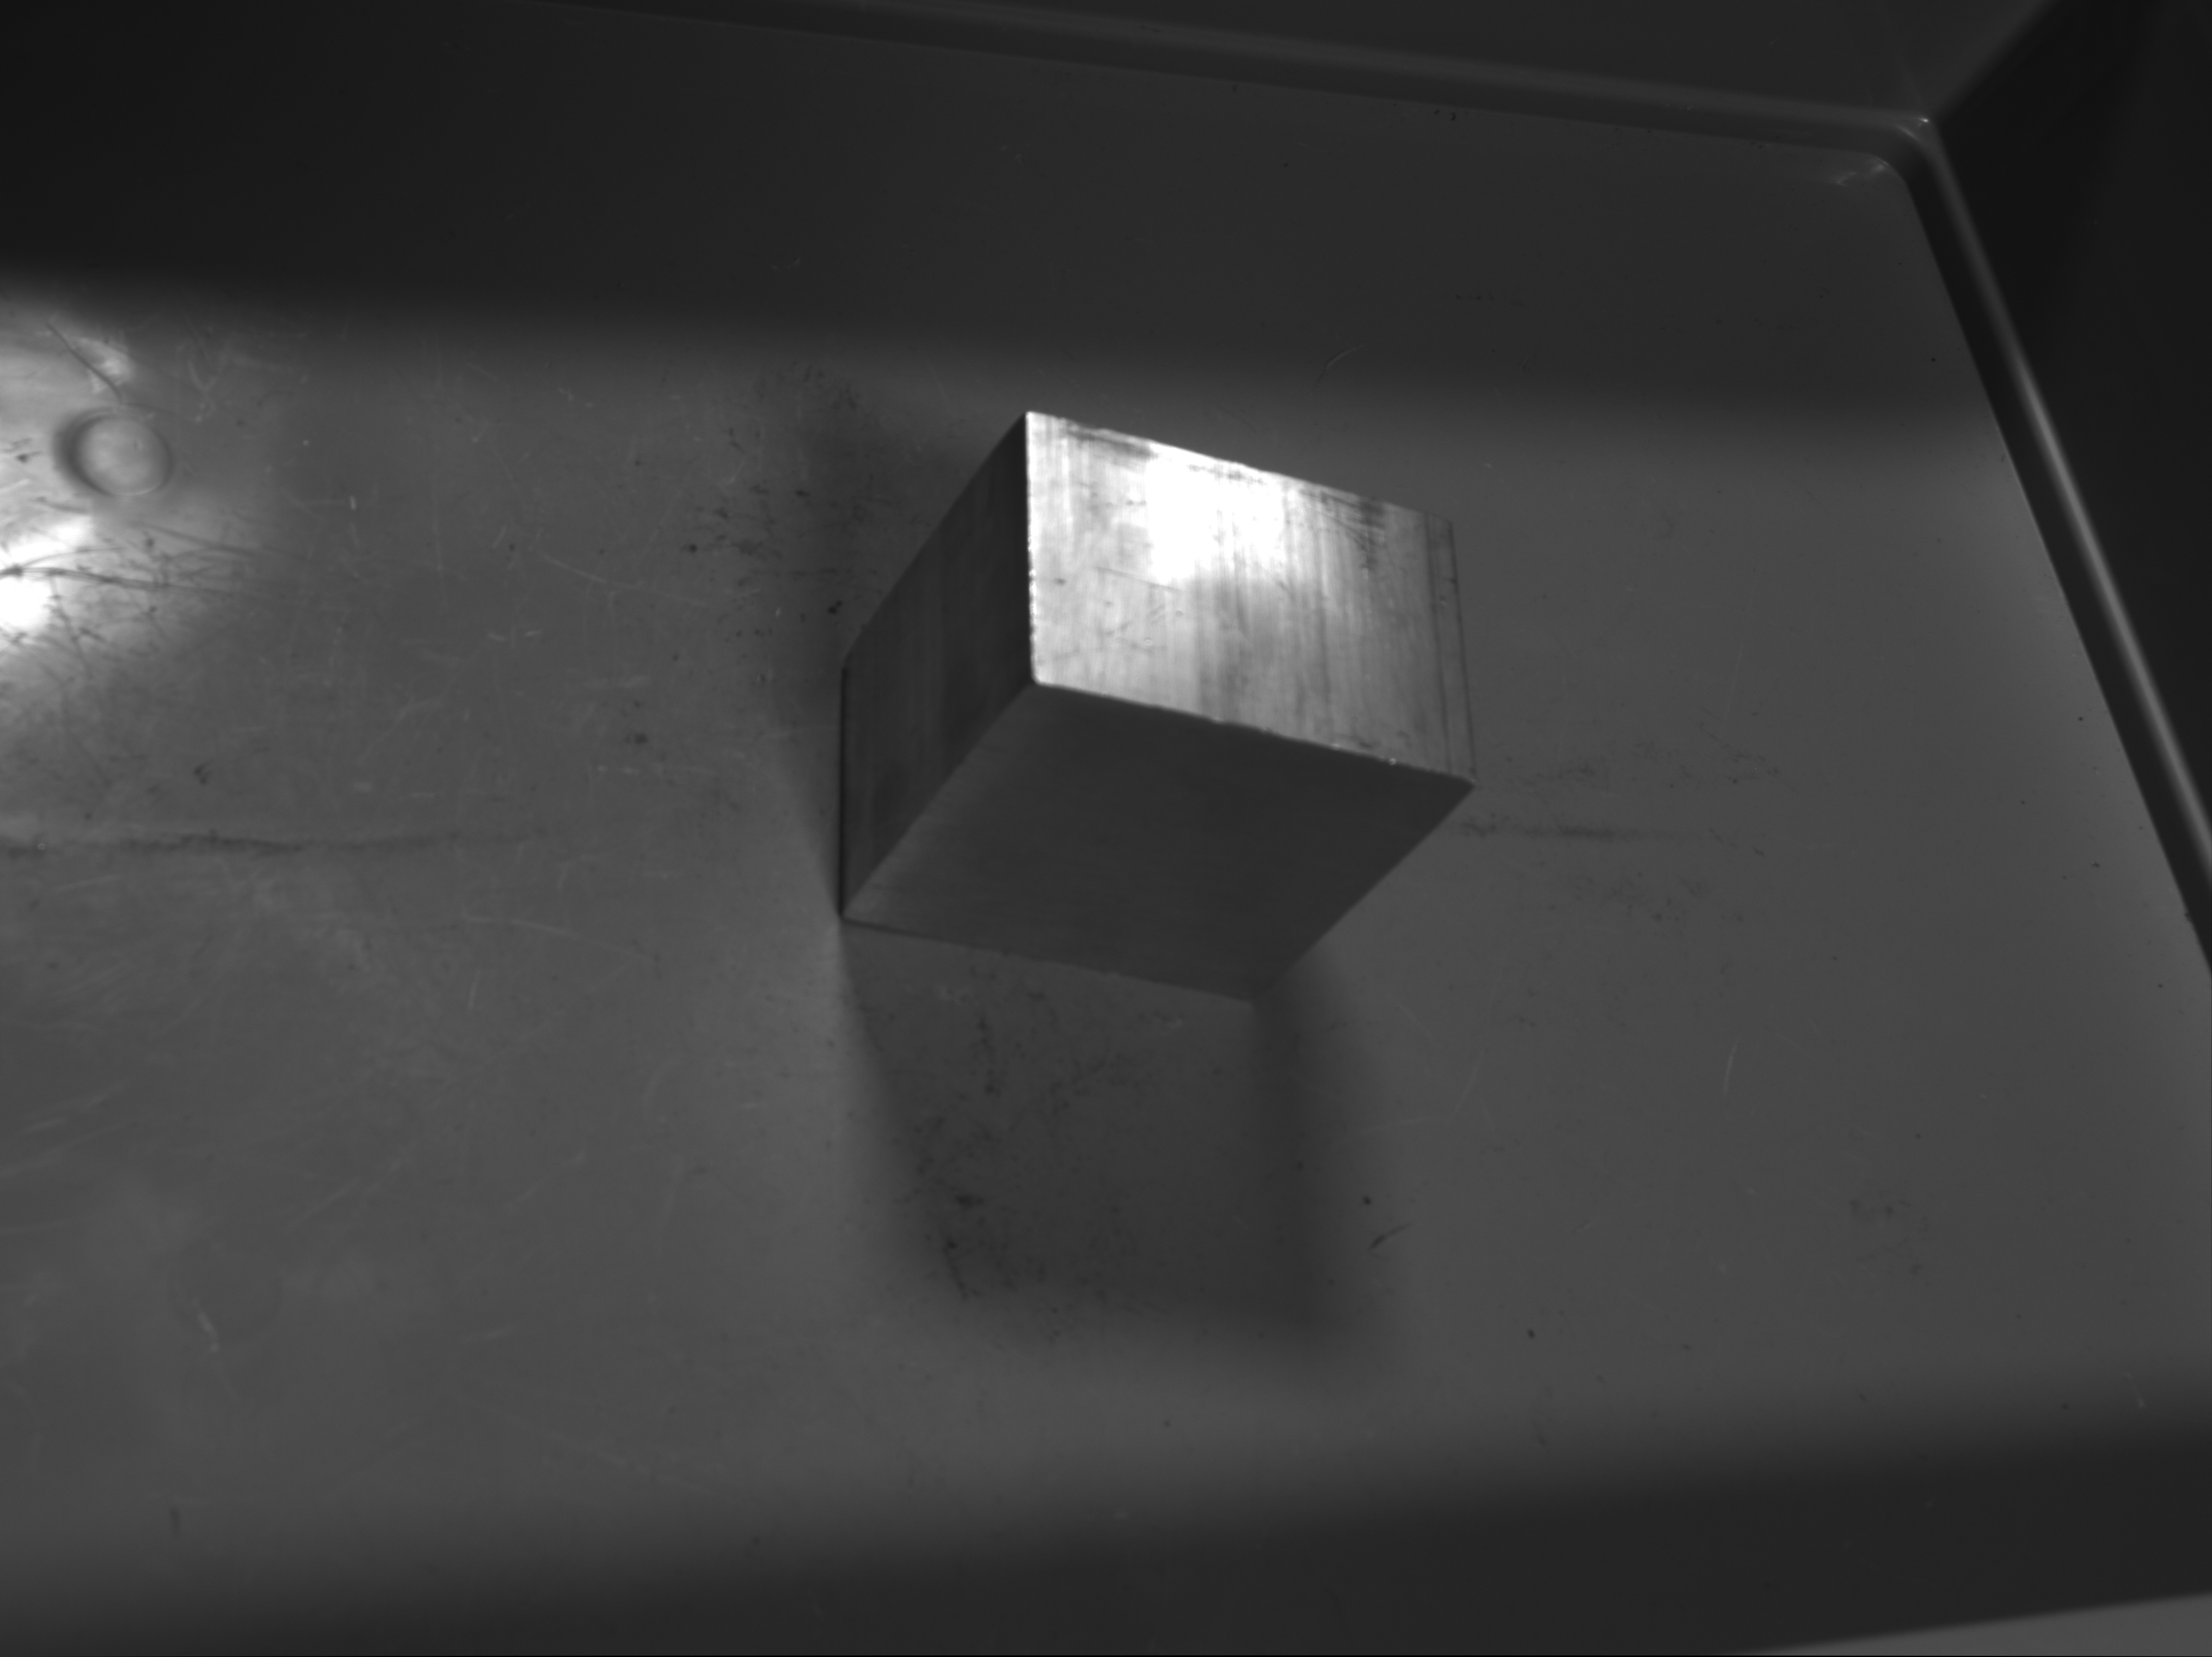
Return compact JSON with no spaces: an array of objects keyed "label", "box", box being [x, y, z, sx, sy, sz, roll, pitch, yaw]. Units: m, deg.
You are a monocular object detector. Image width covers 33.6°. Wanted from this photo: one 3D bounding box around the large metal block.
[{"label":"large metal block","box":[0.010,-0.018,0.618,0.080,0.080,0.050,12,57,-22]}]
